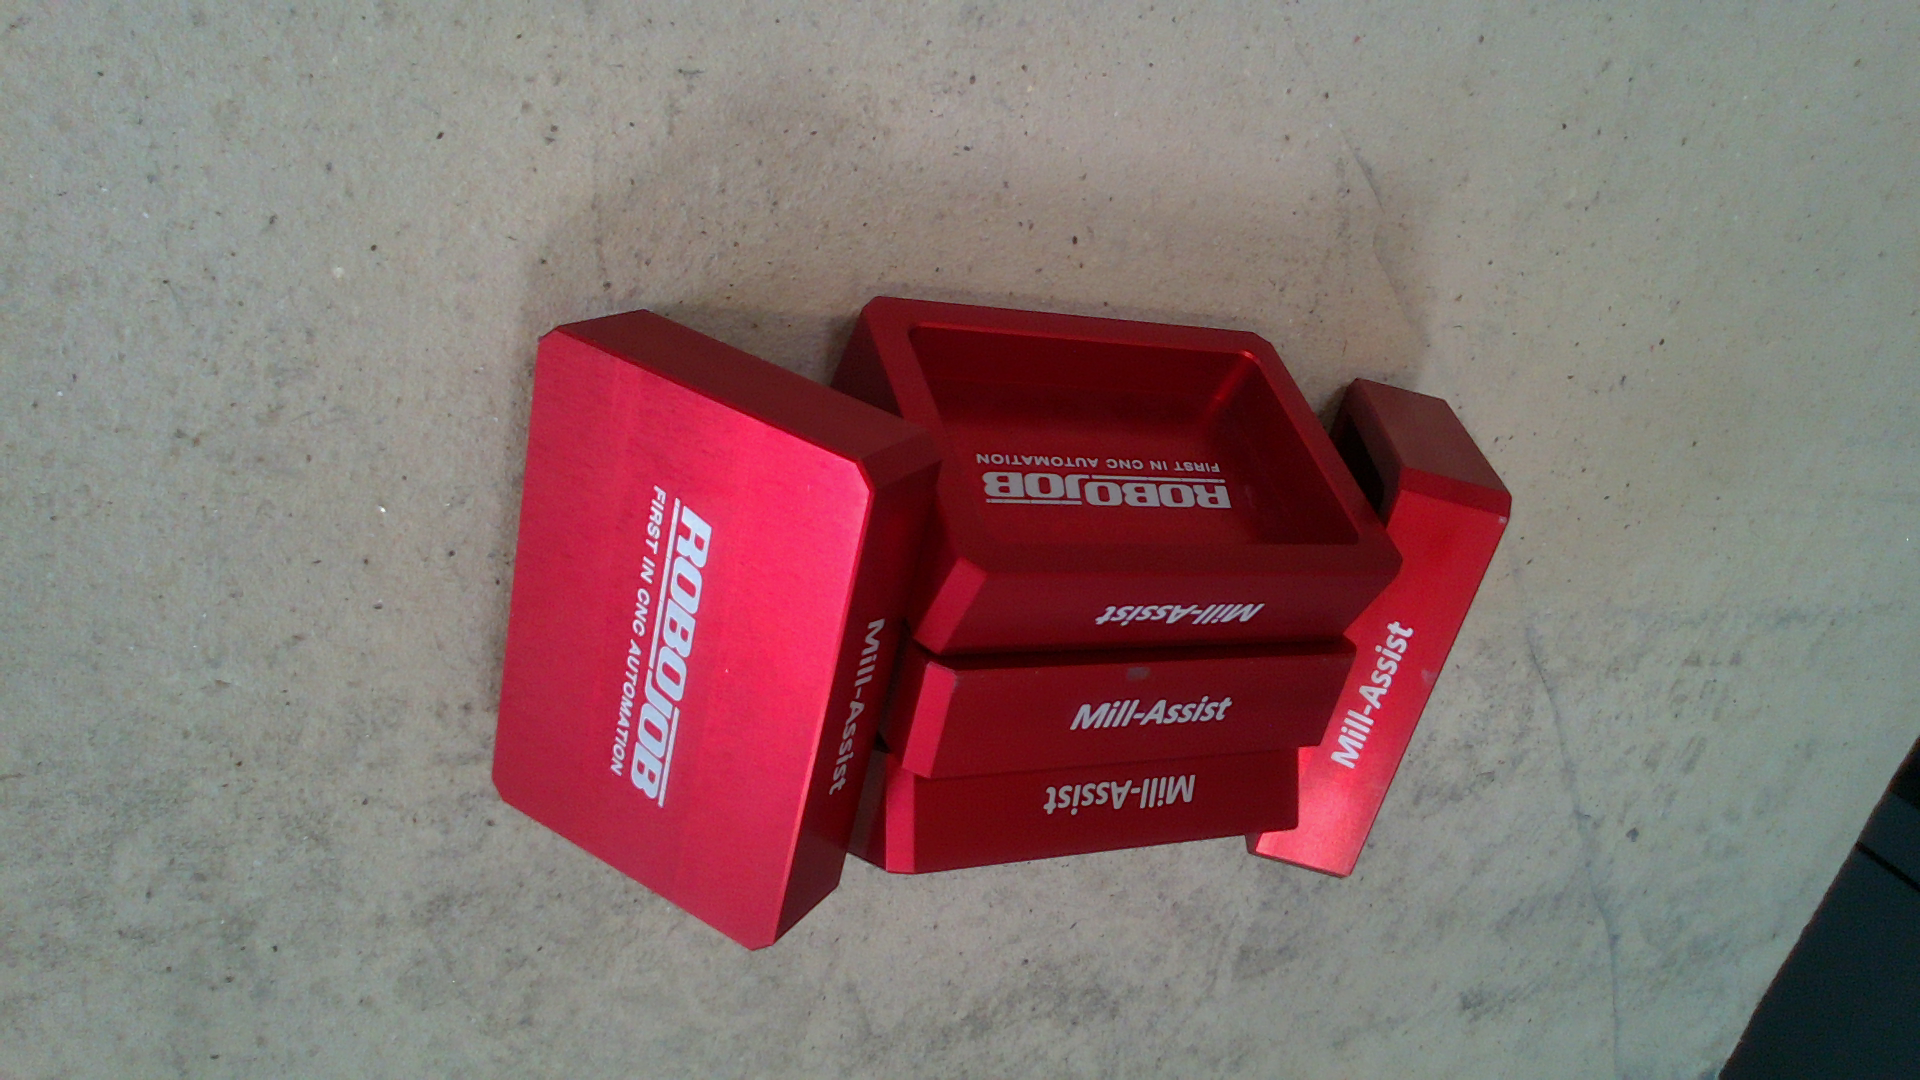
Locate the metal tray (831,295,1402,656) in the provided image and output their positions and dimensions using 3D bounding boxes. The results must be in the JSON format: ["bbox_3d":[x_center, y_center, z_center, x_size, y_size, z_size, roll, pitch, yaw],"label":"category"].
[{"bbox_3d":[0.040,-0.017,0.356,0.130,0.090,0.030,0,140,-28],"label":"metal tray"}]

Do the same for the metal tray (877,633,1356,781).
[{"bbox_3d":[0.030,0.022,0.377,0.130,0.090,0.030,0,119,-29],"label":"metal tray"}]

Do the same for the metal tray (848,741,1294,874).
[{"bbox_3d":[0.020,0.066,0.398,0.130,0.090,0.030,0,89,-29],"label":"metal tray"}]

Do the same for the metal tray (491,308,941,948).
[{"bbox_3d":[-0.063,0.021,0.328,0.030,0.090,0.130,-32,141,-57],"label":"metal tray"}]

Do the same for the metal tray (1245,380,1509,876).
[{"bbox_3d":[0.120,0.025,0.427,0.030,0.090,0.130,15,114,0],"label":"metal tray"}]
